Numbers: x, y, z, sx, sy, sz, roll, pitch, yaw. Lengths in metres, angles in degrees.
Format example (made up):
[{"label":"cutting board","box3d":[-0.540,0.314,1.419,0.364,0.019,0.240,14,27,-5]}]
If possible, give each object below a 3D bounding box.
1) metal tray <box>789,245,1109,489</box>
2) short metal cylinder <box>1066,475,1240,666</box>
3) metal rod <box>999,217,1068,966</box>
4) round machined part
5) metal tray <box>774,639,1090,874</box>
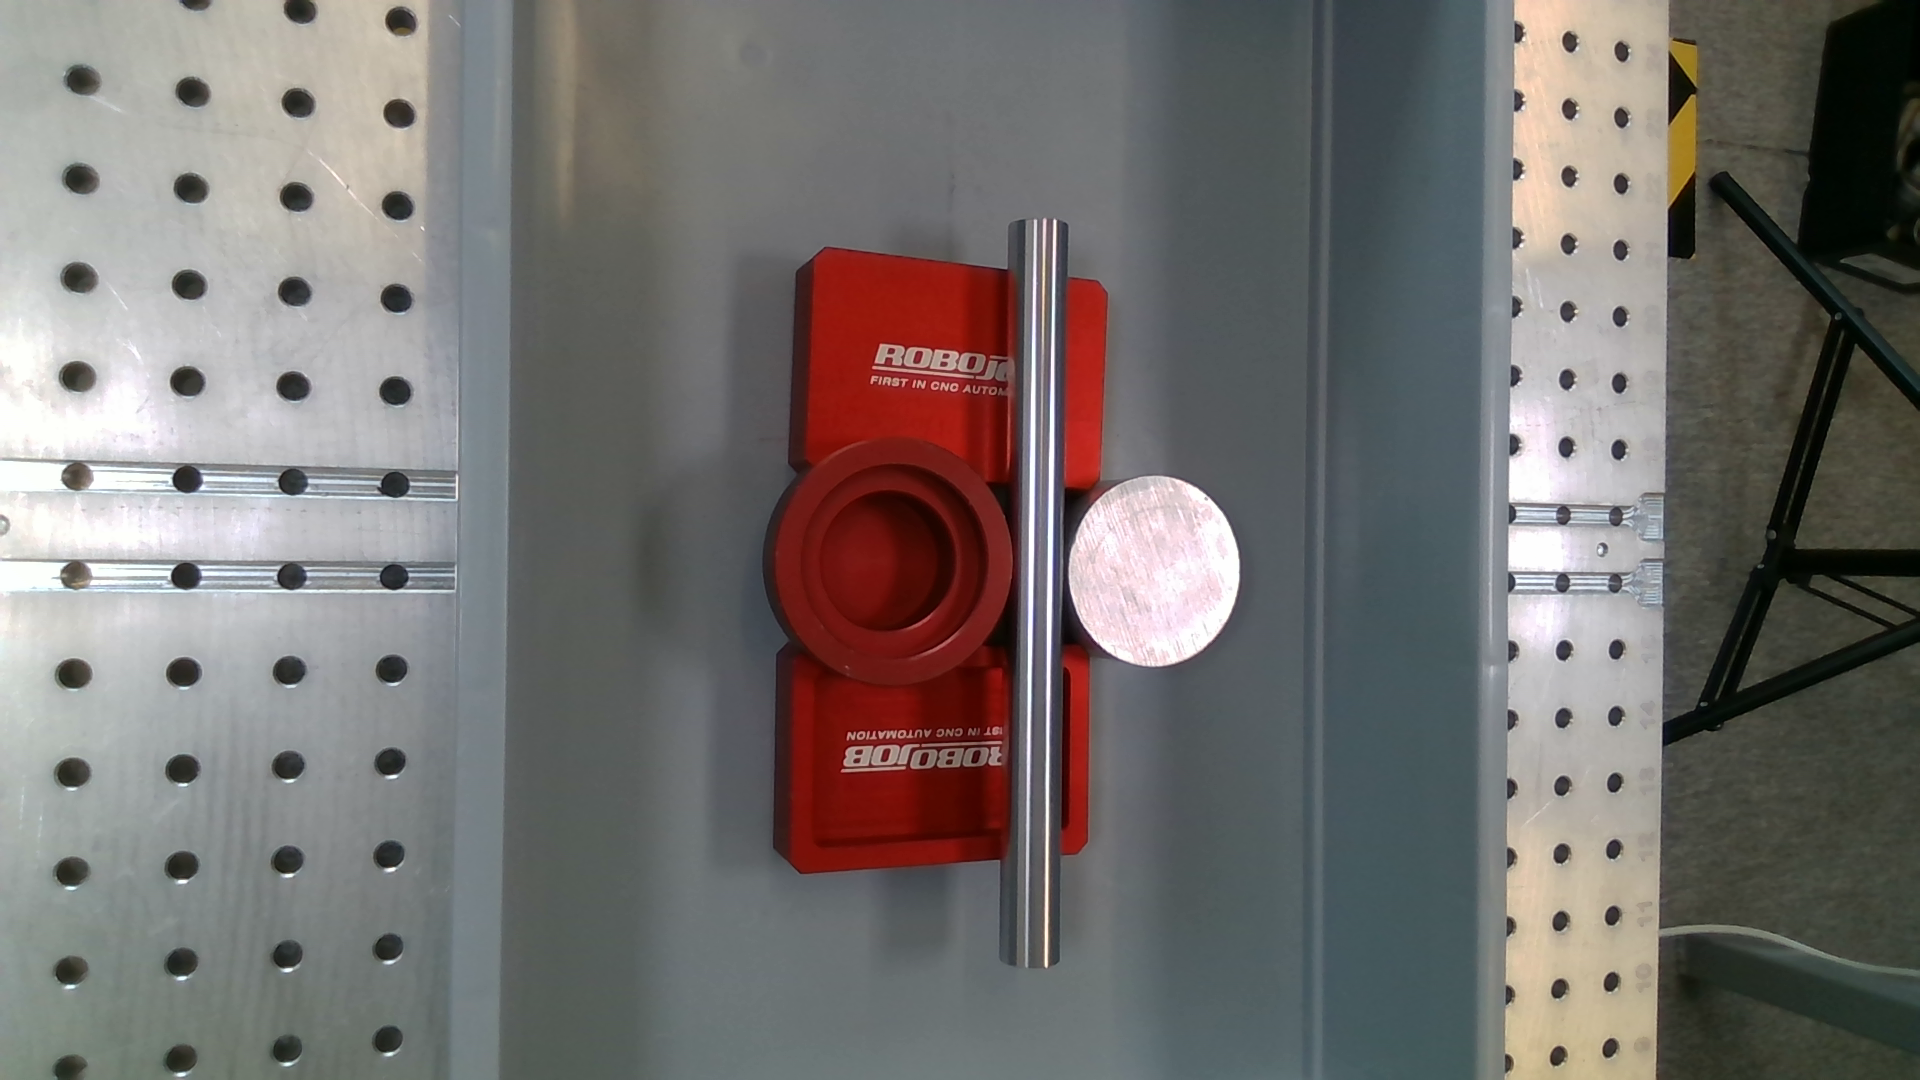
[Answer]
[{"label":"metal tray","box3d":[-0.004,-0.069,0.579,0.130,0.030,0.090,3,89,-20]},{"label":"short metal cylinder","box3d":[0.074,0.013,0.599,0.080,0.050,0.080,0,90,-20]},{"label":"metal rod","box3d":[0.030,0.021,0.564,0.025,0.025,0.300,1,90,-20]},{"label":"round machined part","box3d":[-0.031,0.008,0.555,0.098,0.042,0.098,0,90,-20]},{"label":"metal tray","box3d":[-0.011,0.088,0.578,0.130,0.030,0.090,1,90,-20]}]
